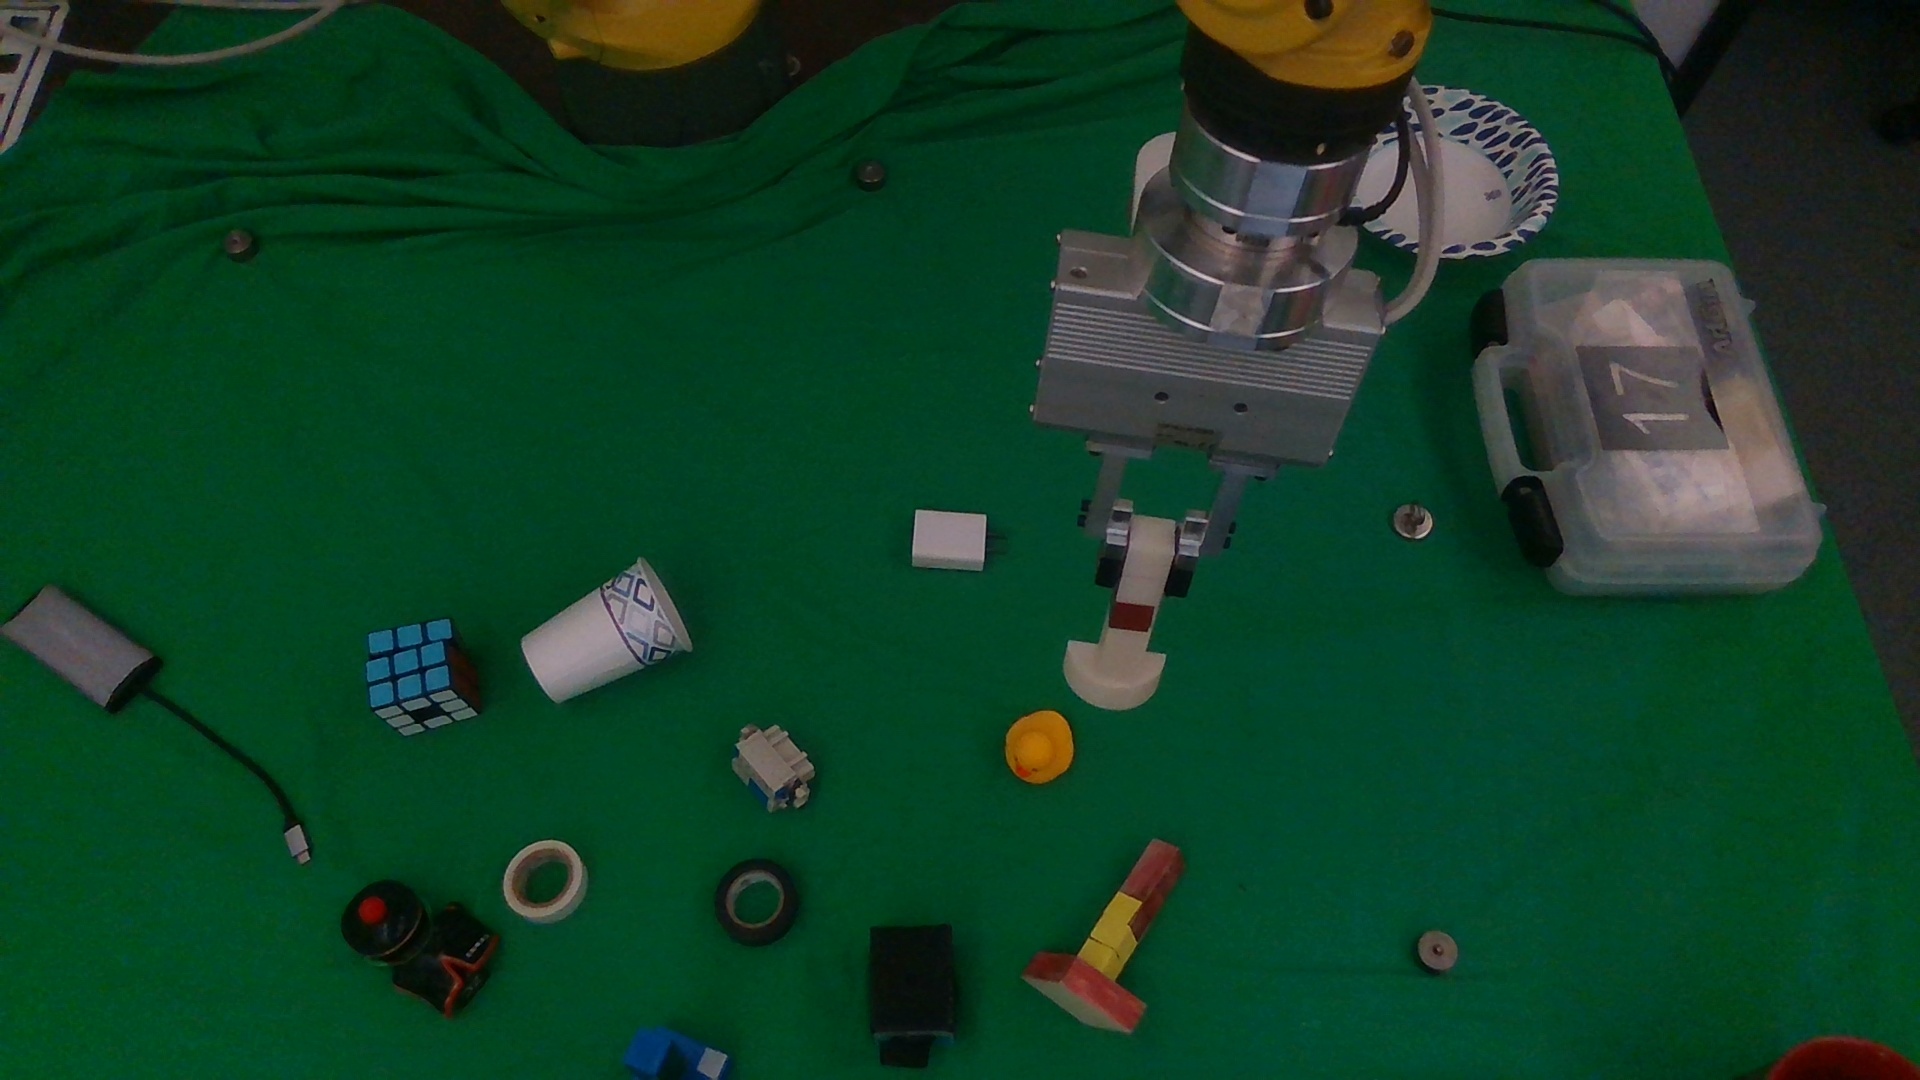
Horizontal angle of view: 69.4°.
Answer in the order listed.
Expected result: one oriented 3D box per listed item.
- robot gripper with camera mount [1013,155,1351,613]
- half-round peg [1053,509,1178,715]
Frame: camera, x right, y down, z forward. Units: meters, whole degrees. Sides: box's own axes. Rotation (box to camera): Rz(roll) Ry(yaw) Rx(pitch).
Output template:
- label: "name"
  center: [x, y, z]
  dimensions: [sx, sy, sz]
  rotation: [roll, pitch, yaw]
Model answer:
- label: "robot gripper with camera mount"
  center: [0.089, -0.086, 0.620]
  dimensions: [0.119, 0.158, 0.193]
  rotation: [8, 48, 2]
- label: "half-round peg"
  center: [0.079, 0.035, 0.660]
  dimensions: [0.054, 0.122, 0.031]
  rotation: [2, 44, -6]
